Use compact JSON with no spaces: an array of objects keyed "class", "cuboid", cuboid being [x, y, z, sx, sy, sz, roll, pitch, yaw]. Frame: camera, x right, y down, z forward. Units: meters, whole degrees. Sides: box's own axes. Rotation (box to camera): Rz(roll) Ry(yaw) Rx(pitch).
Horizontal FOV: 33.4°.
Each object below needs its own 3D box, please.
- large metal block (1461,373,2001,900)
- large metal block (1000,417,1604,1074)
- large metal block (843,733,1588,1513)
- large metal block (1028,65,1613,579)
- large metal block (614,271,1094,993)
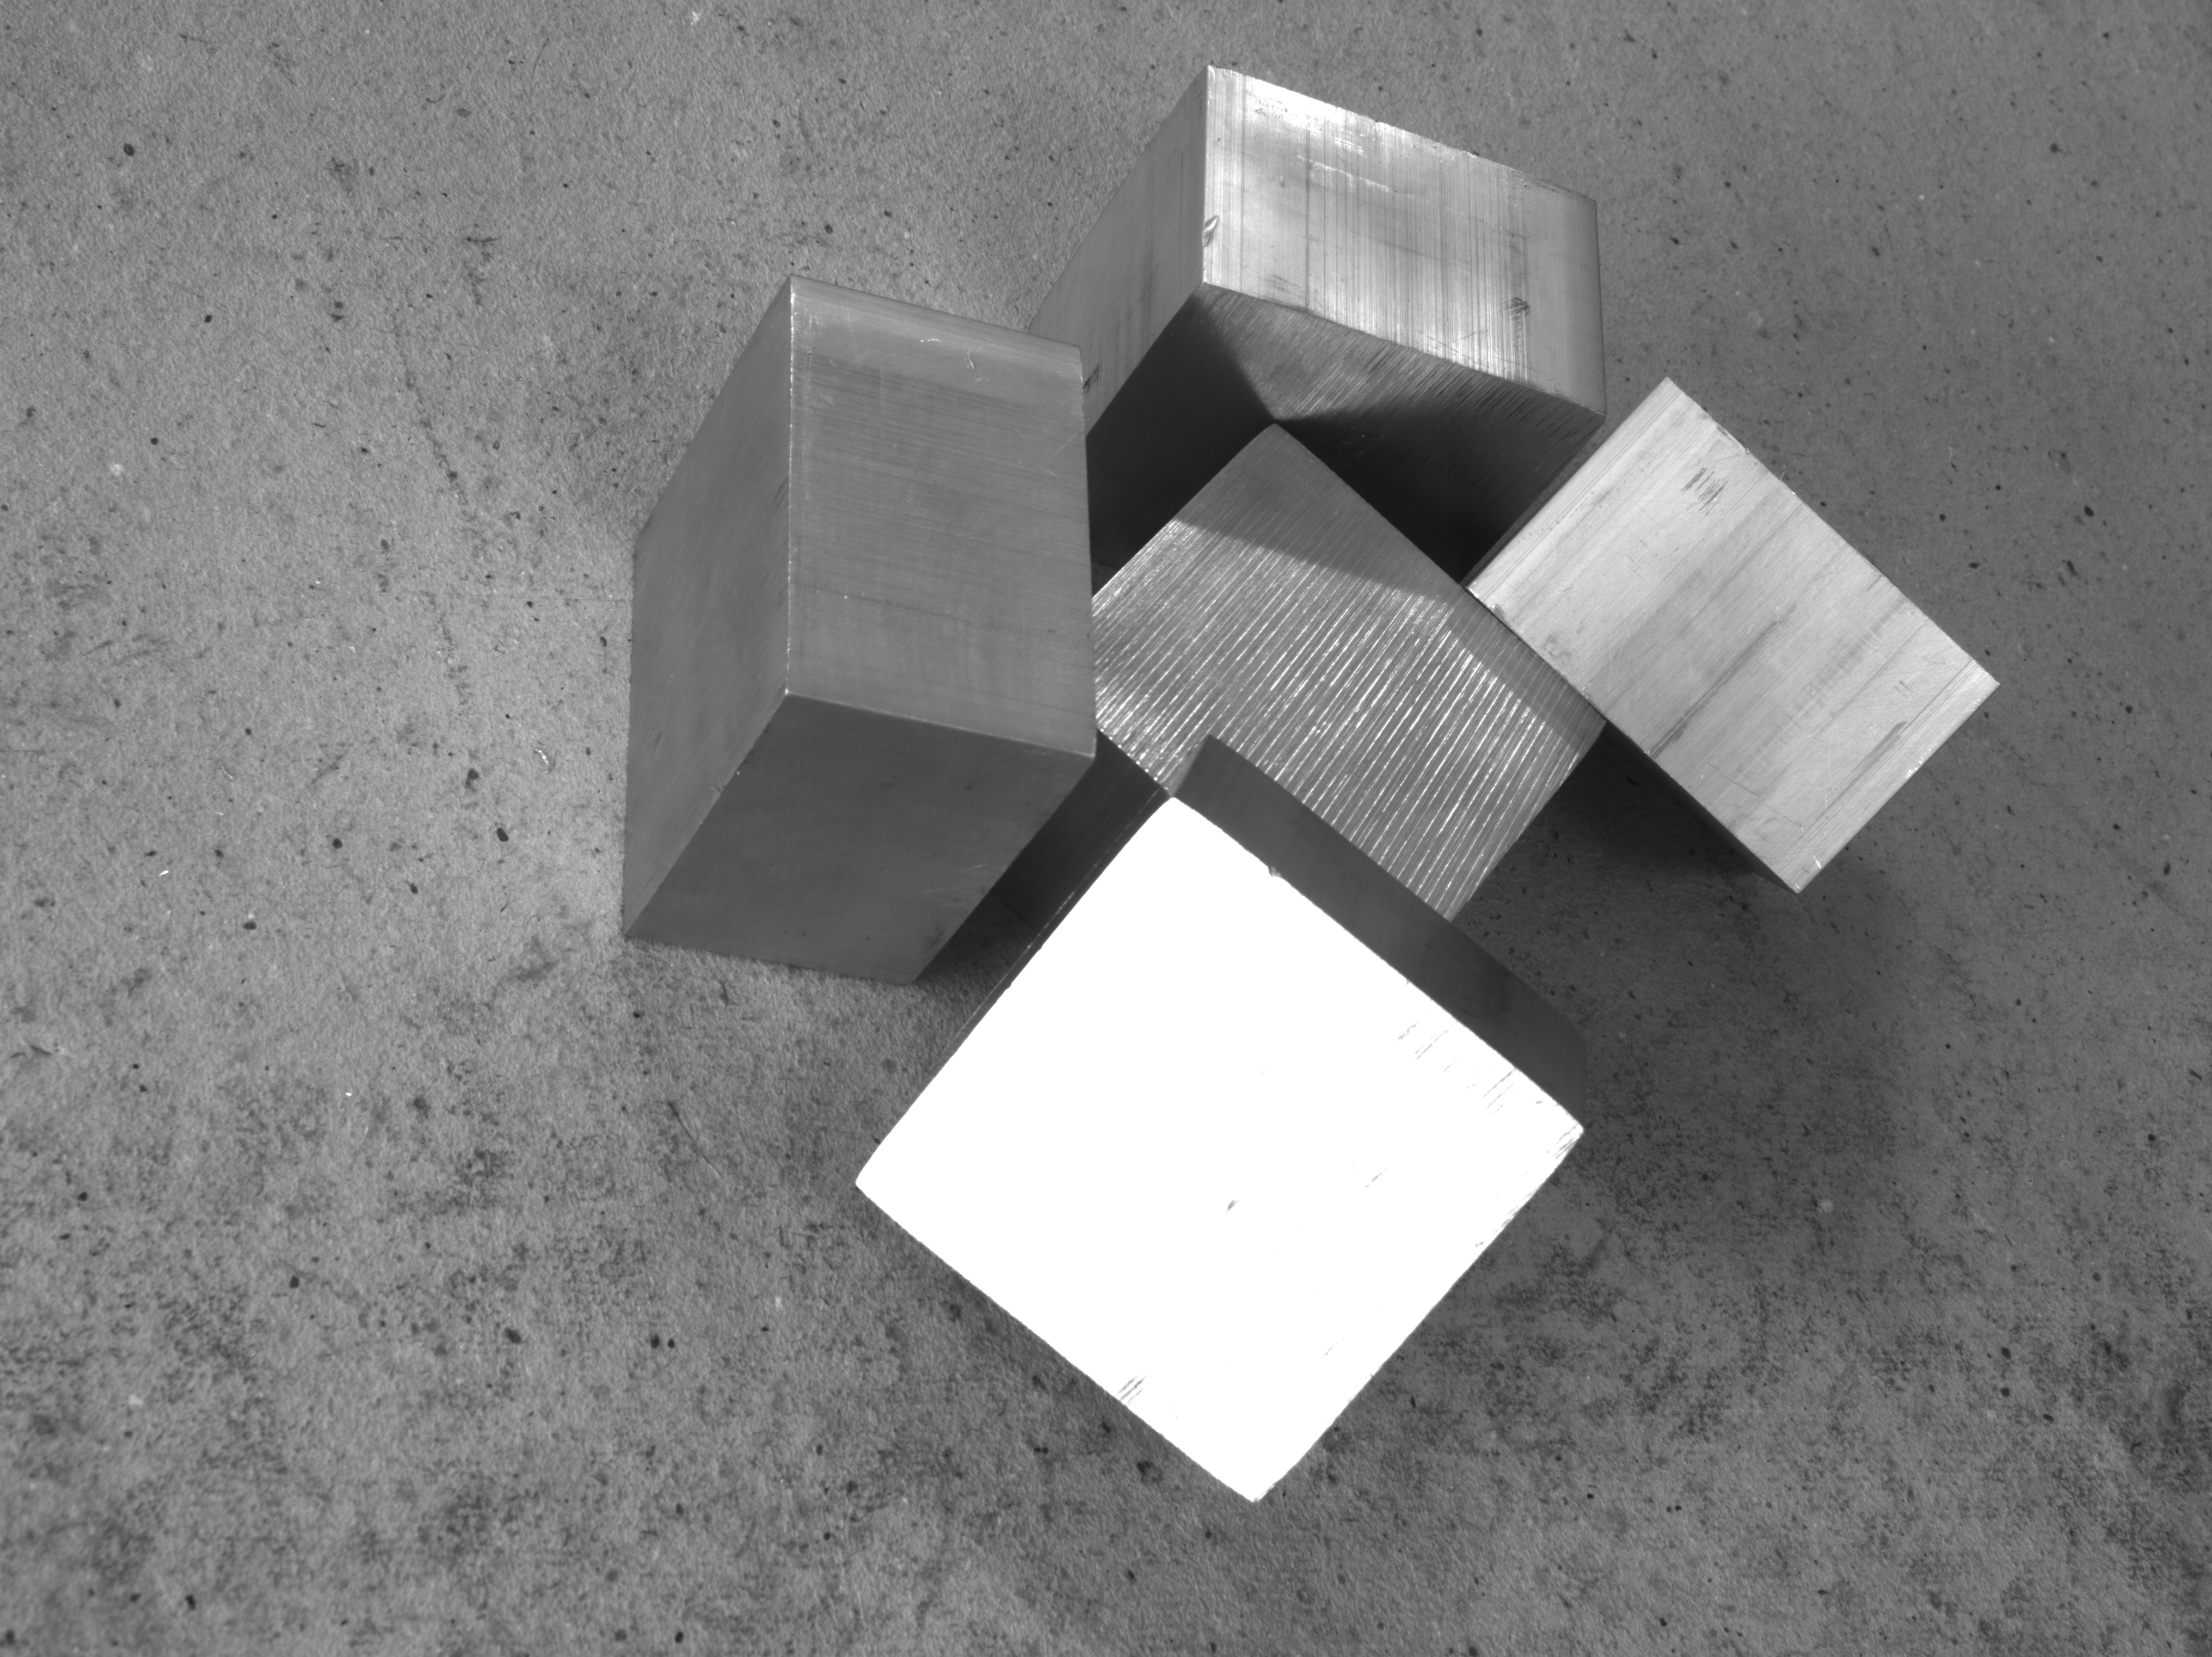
[{"class":"large metal block","cuboid":[0.111,-0.035,0.678,0.080,0.080,0.050,43,95,2]},{"class":"large metal block","cuboid":[0.027,-0.011,0.643,0.080,0.050,0.080,43,51,0]},{"class":"large metal block","cuboid":[0.019,0.045,0.579,0.080,0.080,0.050,39,14,-2]},{"class":"large metal block","cuboid":[0.037,-0.084,0.676,0.080,0.080,0.050,15,55,-20]},{"class":"large metal block","cuboid":[-0.042,-0.030,0.602,0.050,0.080,0.080,12,57,-22]}]
